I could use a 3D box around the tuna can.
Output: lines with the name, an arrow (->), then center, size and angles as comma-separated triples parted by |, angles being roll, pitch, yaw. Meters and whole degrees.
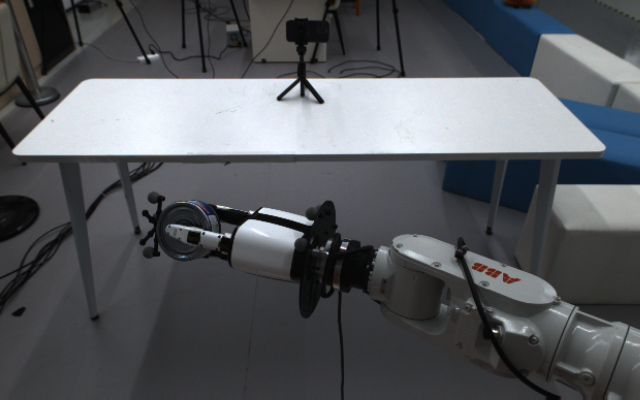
tuna can -> -0.183, 0.046, 0.681 | 0.085, 0.085, 0.034 | 10, 4, 11
